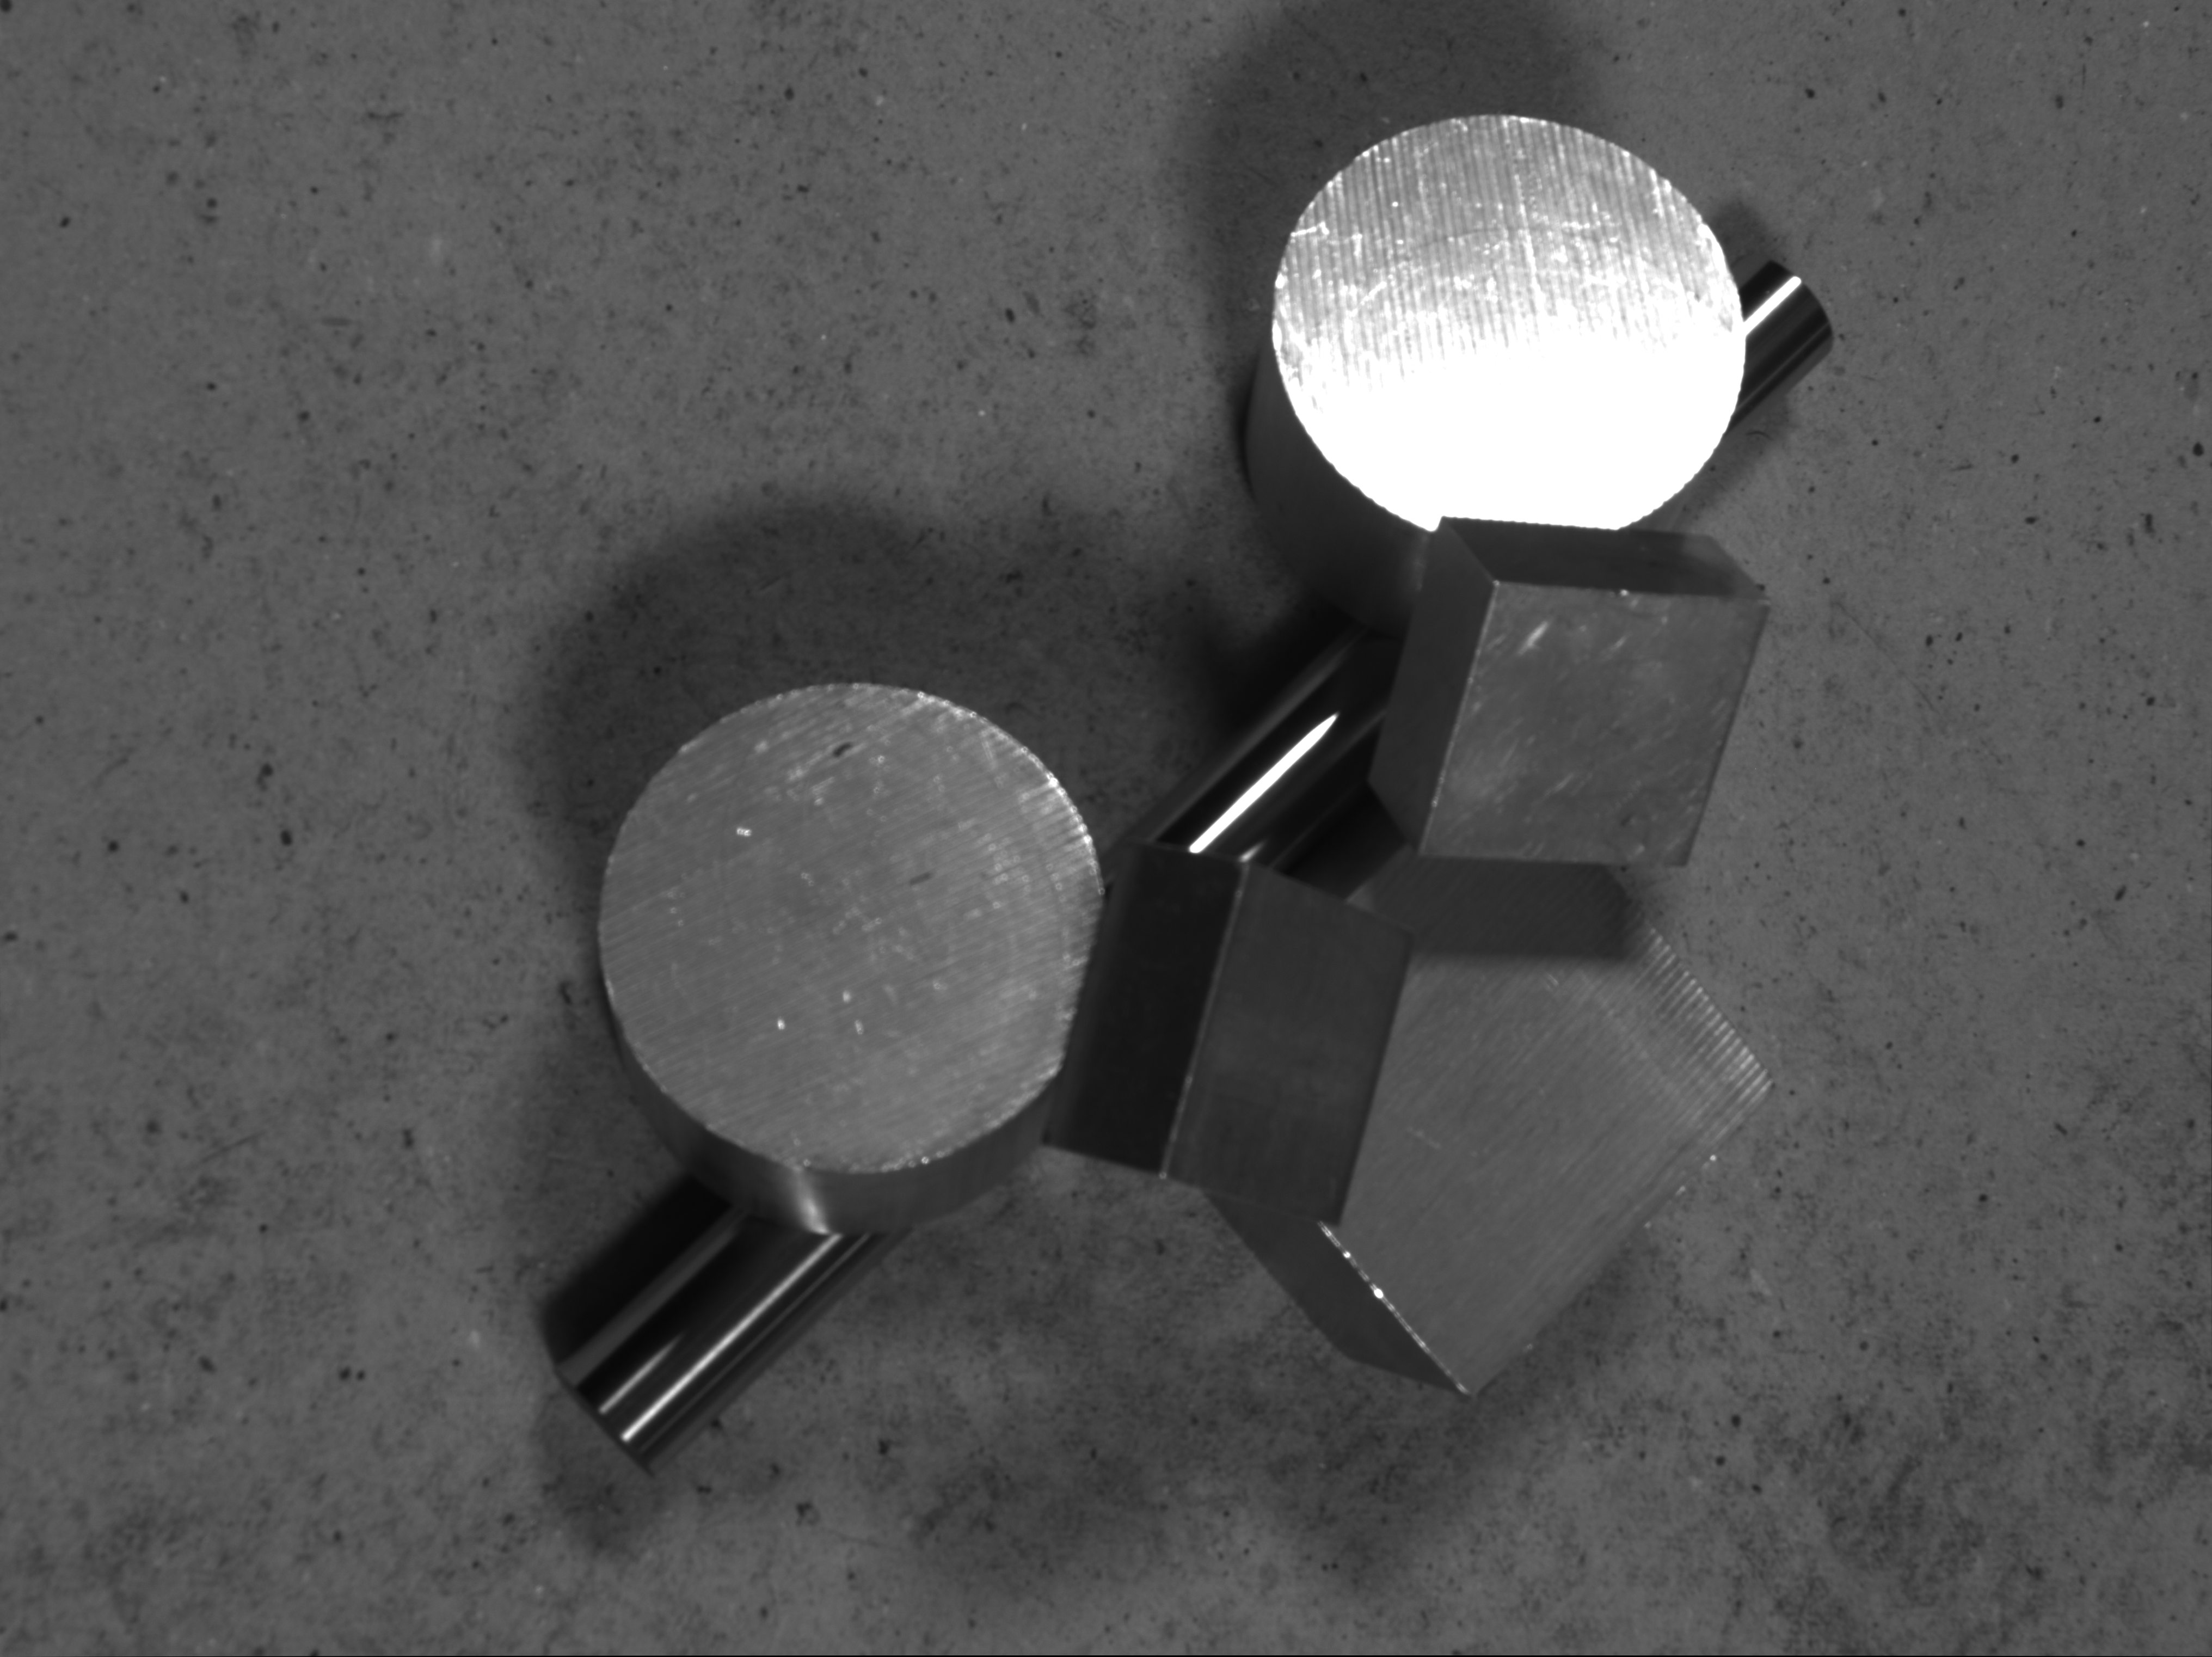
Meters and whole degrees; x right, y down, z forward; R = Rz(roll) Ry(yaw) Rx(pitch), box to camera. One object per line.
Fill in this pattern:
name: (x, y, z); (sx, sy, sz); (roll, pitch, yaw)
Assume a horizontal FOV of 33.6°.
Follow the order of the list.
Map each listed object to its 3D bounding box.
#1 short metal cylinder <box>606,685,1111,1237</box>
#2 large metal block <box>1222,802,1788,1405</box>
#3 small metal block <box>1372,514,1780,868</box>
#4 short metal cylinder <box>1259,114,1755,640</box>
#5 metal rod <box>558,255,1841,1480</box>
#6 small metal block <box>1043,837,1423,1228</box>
short metal cylinder: (-0.040, 0.023, 0.601); (0.080, 0.050, 0.080); (1, 72, -3)
large metal block: (0.059, 0.042, 0.650); (0.080, 0.050, 0.080); (-43, 103, -15)
small metal block: (0.077, -0.022, 0.605); (0.050, 0.025, 0.050); (2, 120, -20)
short metal cylinder: (0.068, -0.077, 0.639); (0.080, 0.050, 0.080); (1, 72, -3)
metal rod: (0.023, 0.001, 0.651); (0.300, 0.025, 0.025); (-43, 103, -15)
small metal block: (0.021, 0.033, 0.585); (0.050, 0.025, 0.050); (22, 82, -51)
